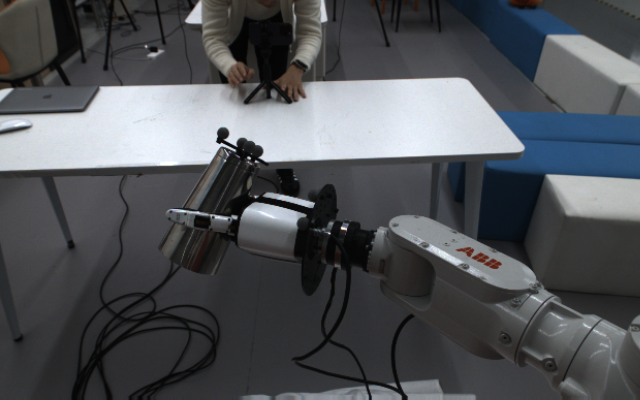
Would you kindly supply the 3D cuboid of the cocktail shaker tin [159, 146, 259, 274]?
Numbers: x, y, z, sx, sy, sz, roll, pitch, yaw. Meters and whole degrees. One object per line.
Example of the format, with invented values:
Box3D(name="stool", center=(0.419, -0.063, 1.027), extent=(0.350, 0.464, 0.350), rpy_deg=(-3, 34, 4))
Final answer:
Box3D(name="cocktail shaker tin", center=(-0.155, 0.009, 0.706), extent=(0.093, 0.170, 0.093), rpy_deg=(27, 2, -1))
